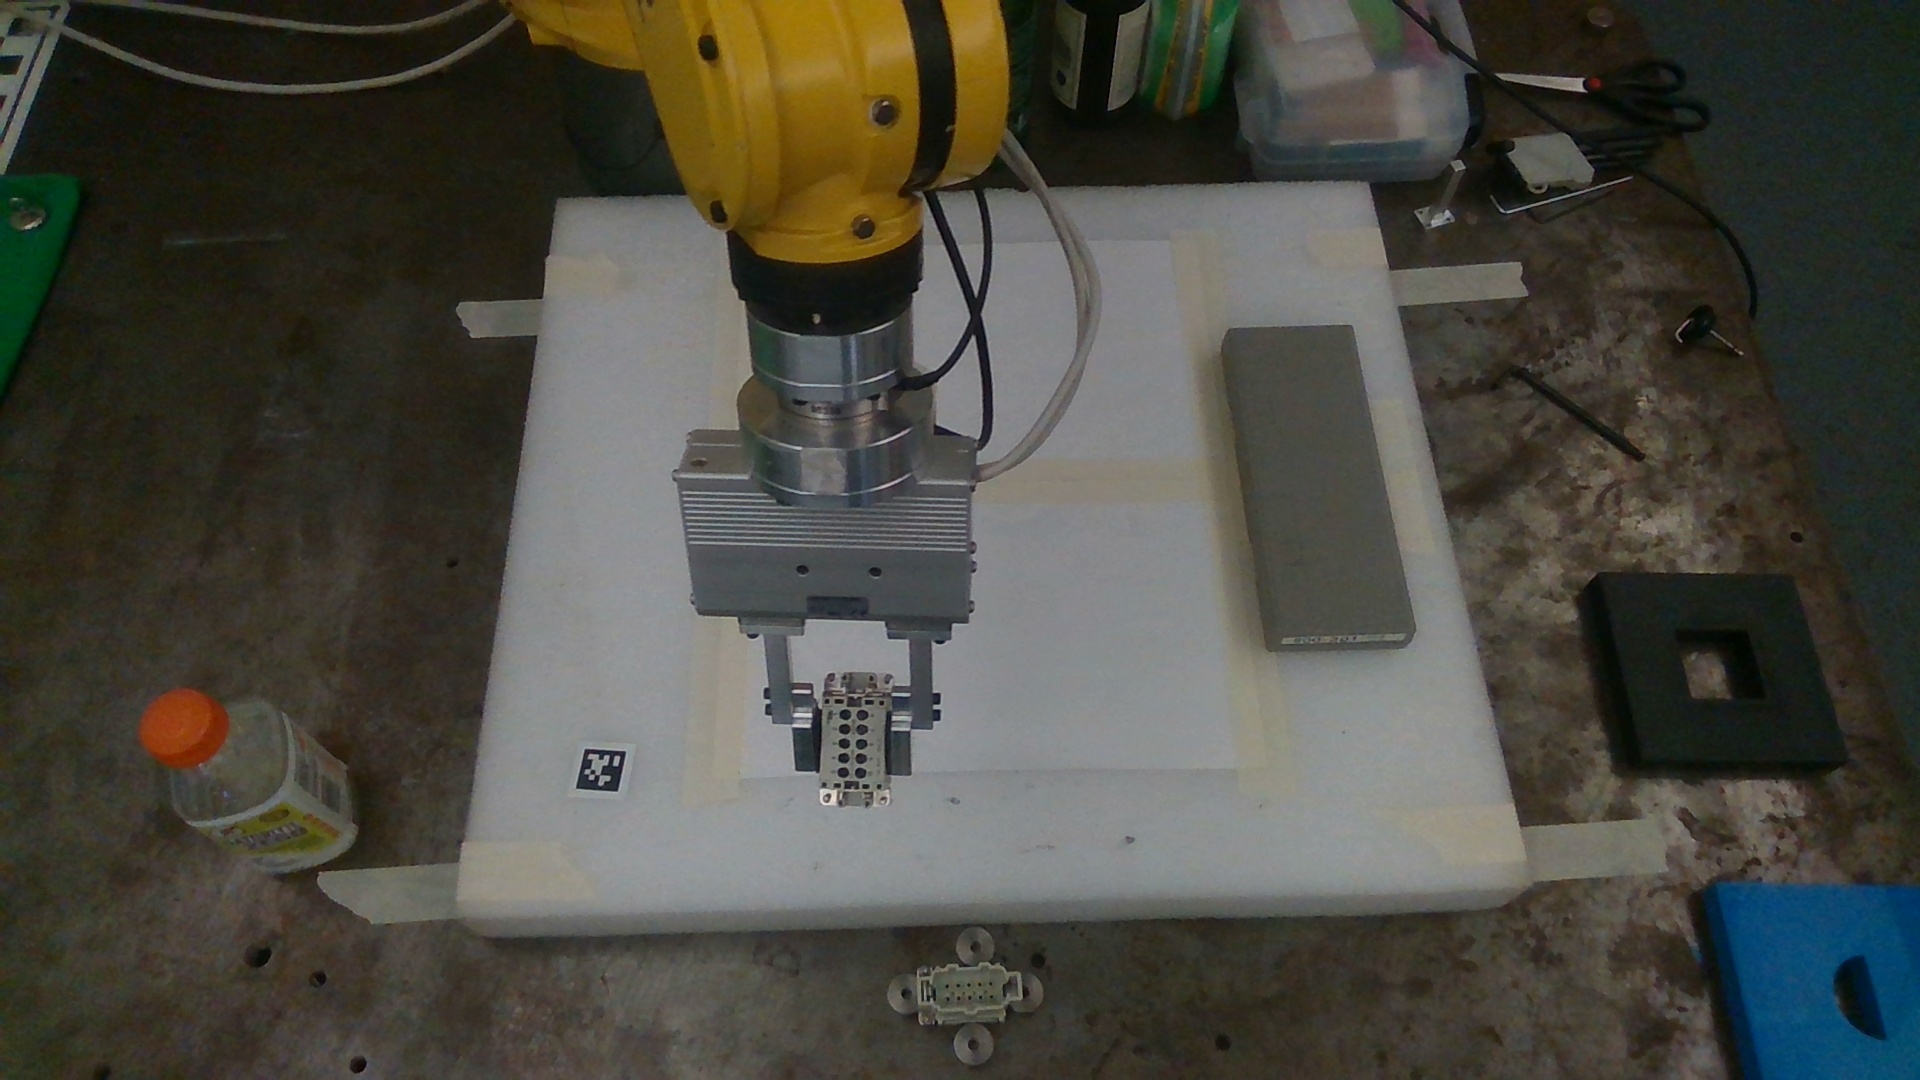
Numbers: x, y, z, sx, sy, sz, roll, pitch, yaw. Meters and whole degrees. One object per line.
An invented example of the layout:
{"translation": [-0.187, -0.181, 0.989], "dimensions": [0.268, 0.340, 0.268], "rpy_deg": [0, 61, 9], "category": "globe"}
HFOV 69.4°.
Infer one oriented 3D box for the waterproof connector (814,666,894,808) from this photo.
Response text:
{"translation": [-0.052, 0.098, 0.689], "dimensions": [0.037, 0.038, 0.069], "rpy_deg": [1, 91, 8], "category": "waterproof connector"}
